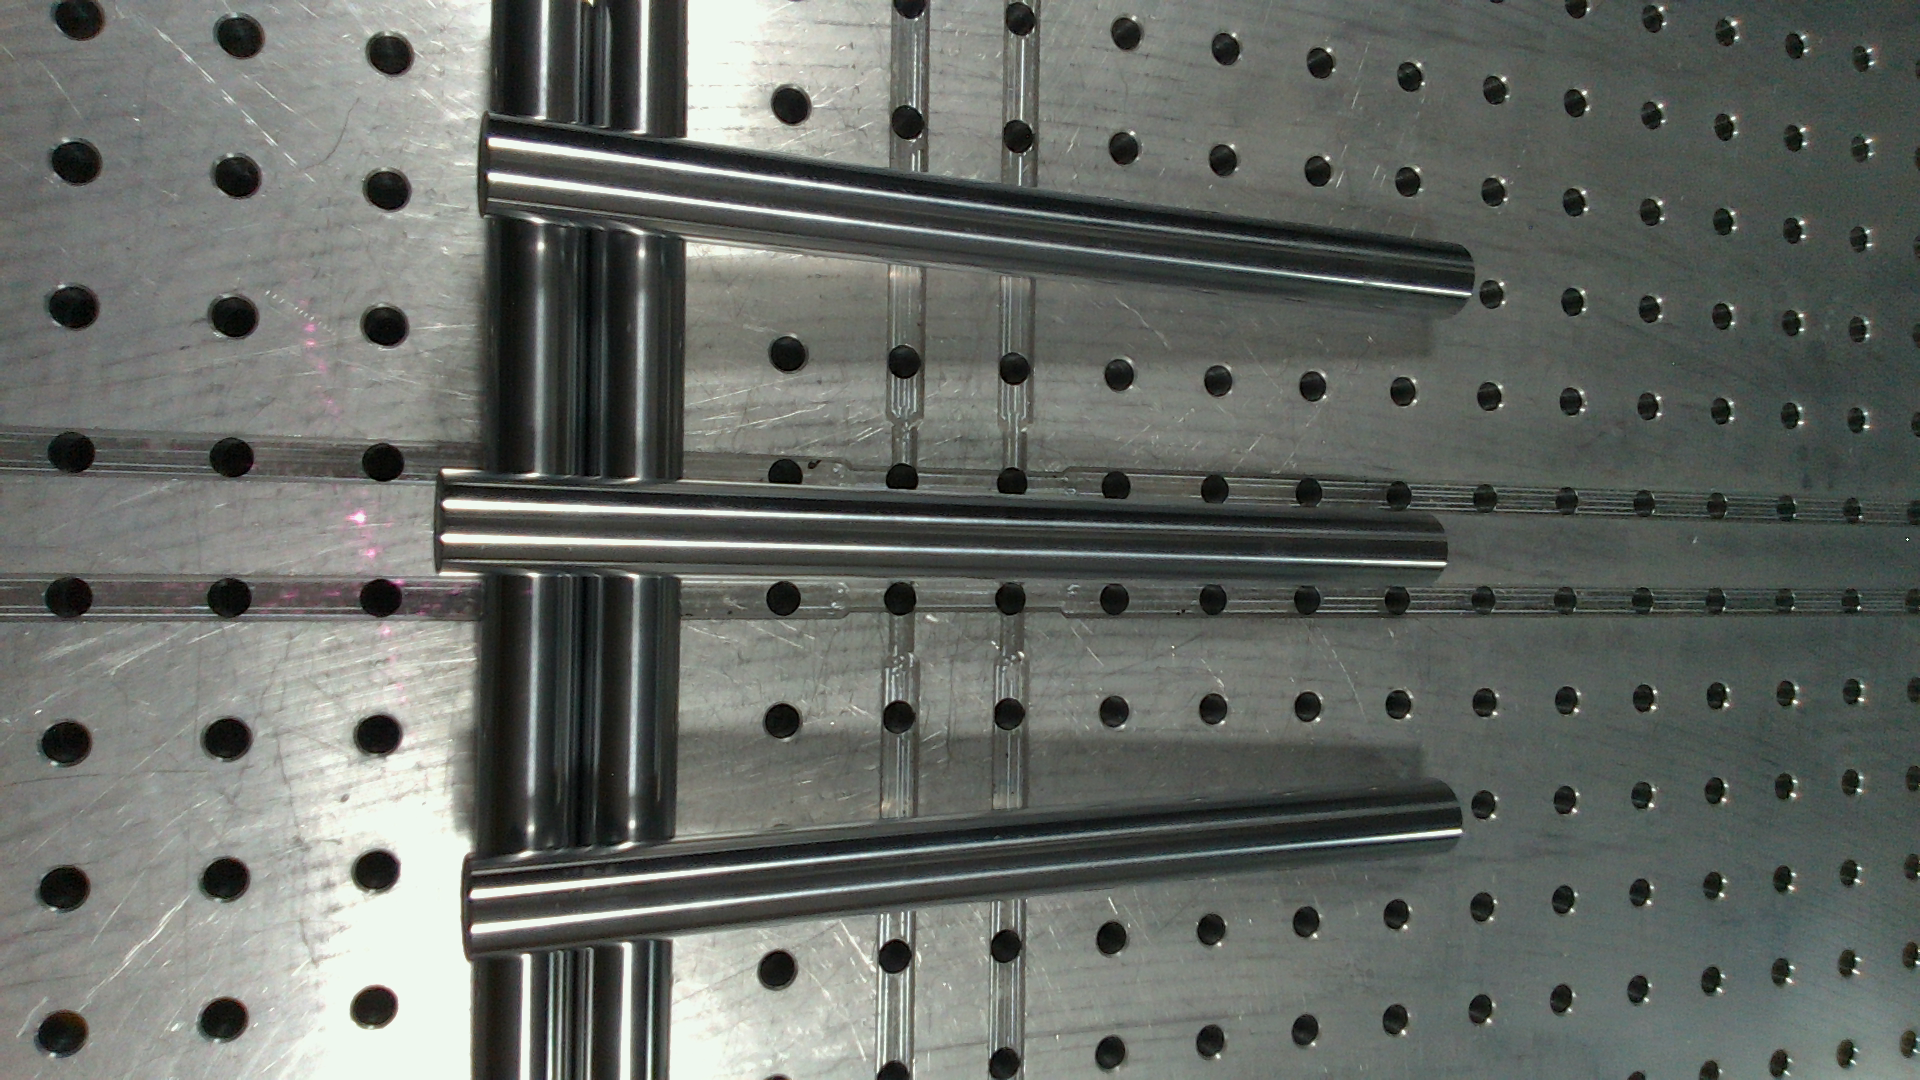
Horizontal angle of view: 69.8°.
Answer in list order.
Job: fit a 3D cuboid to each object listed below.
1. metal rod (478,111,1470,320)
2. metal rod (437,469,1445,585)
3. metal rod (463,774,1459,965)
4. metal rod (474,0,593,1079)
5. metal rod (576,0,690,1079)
[{"bbox_3d":[0.024,-0.087,0.389,0.301,0.025,0.025,1,90,-26],"label":"metal rod"},{"bbox_3d":[0.014,-0.001,0.385,0.301,0.025,0.025,1,90,-26],"label":"metal rod"},{"bbox_3d":[0.020,0.088,0.388,0.301,0.025,0.025,1,90,-26],"label":"metal rod"},{"bbox_3d":[-0.110,0.011,0.355,0.025,0.025,0.300,1,90,-20],"label":"metal rod"},{"bbox_3d":[-0.087,0.004,0.364,0.025,0.025,0.300,1,90,-20],"label":"metal rod"}]
